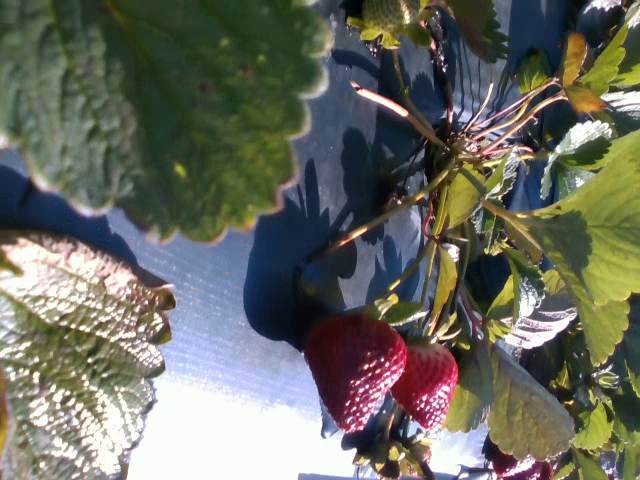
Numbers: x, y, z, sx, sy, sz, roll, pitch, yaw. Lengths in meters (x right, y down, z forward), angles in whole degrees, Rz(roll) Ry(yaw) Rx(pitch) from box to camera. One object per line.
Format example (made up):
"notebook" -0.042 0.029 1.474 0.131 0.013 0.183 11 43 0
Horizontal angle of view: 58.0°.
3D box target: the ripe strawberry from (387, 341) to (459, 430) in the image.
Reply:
"ripe strawberry" 0.051 0.075 0.286 0.042 0.049 0.039 -5 -8 -20

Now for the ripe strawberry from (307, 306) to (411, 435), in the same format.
"ripe strawberry" 0.012 0.055 0.228 0.044 0.050 0.051 -2 -28 15
